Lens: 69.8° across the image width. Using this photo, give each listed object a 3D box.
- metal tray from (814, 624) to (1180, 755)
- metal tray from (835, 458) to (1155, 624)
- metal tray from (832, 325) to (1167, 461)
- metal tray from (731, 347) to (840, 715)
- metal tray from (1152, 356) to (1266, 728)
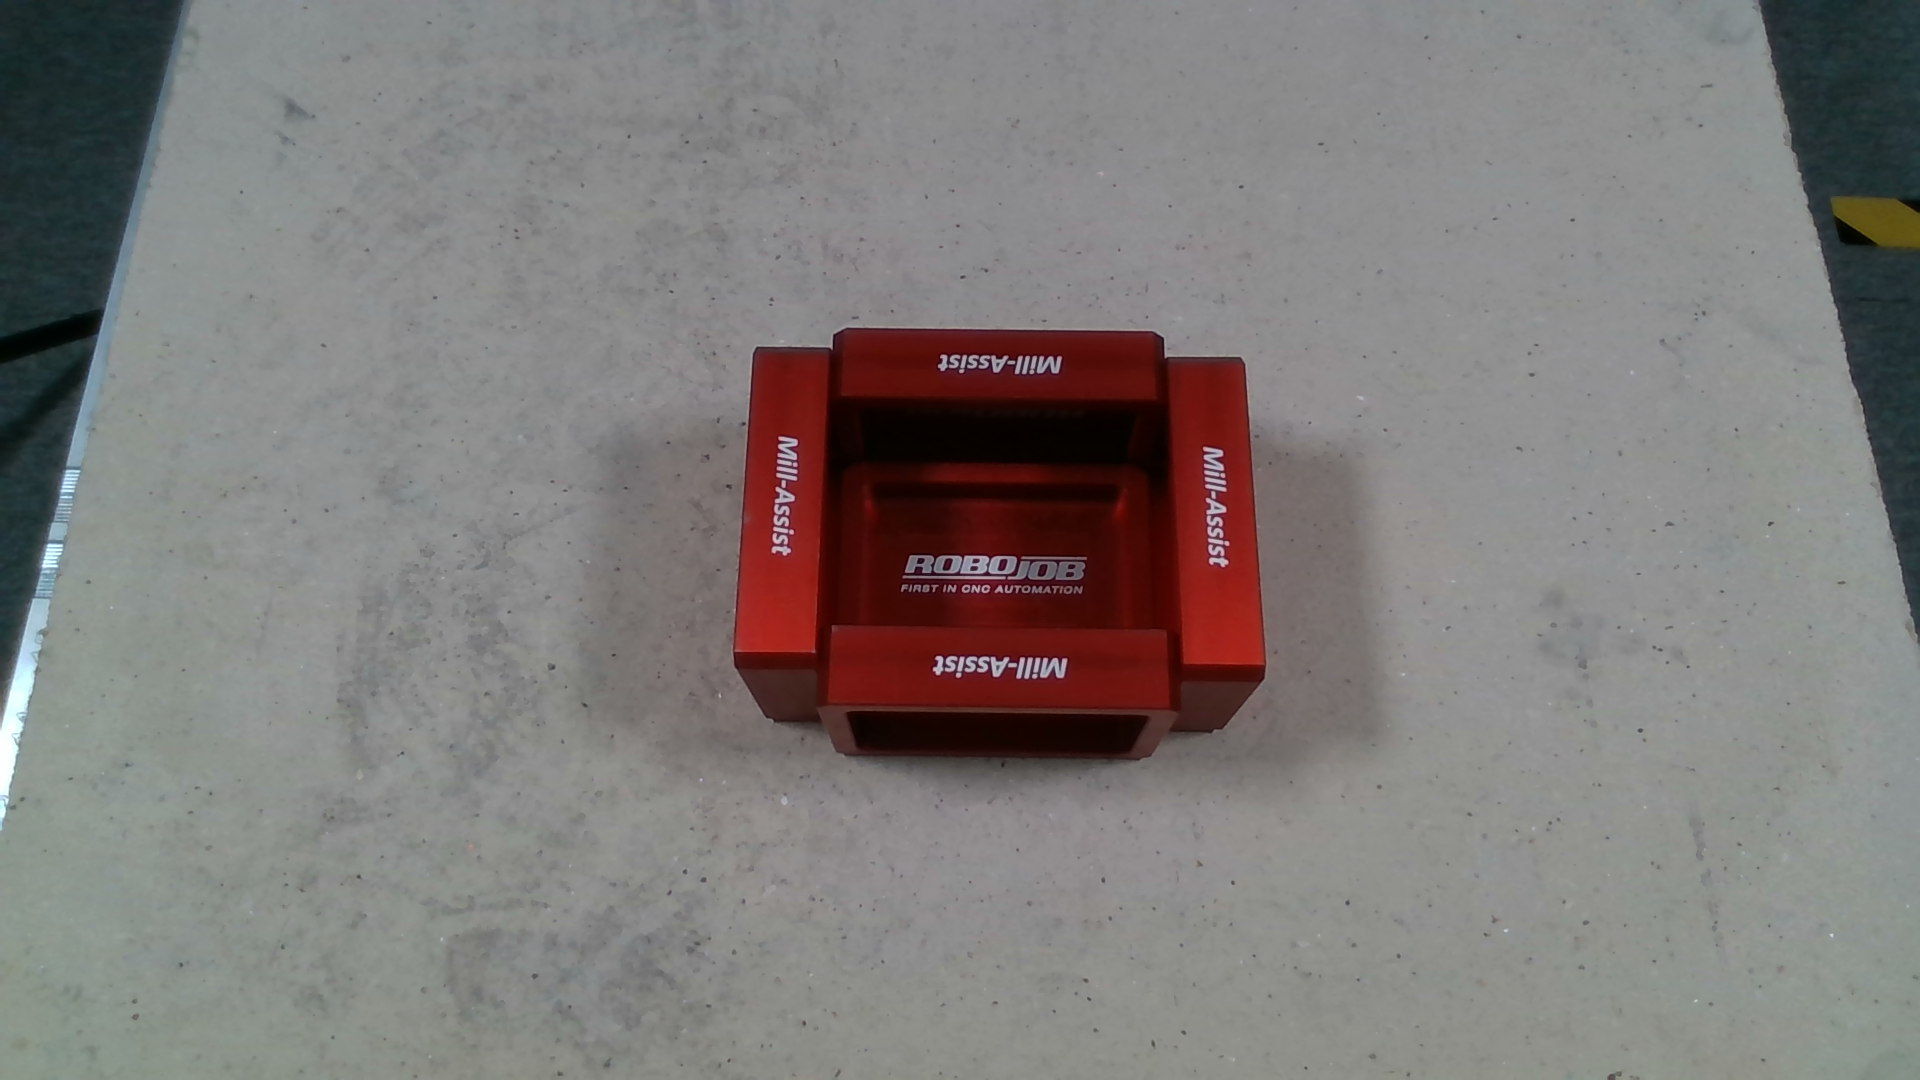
[{"bbox_3d":[0.013,0.060,0.532,0.130,0.090,0.030,1,70,0],"label":"metal tray"},{"bbox_3d":[0.015,0.013,0.581,0.130,0.030,0.090,1,70,0],"label":"metal tray"},{"bbox_3d":[0.015,-0.054,0.572,0.130,0.090,0.030,1,70,0],"label":"metal tray"},{"bbox_3d":[-0.066,-0.001,0.554,0.030,0.090,0.130,1,70,0],"label":"metal tray"},{"bbox_3d":[0.095,0.003,0.552,0.030,0.090,0.130,1,70,0],"label":"metal tray"}]
